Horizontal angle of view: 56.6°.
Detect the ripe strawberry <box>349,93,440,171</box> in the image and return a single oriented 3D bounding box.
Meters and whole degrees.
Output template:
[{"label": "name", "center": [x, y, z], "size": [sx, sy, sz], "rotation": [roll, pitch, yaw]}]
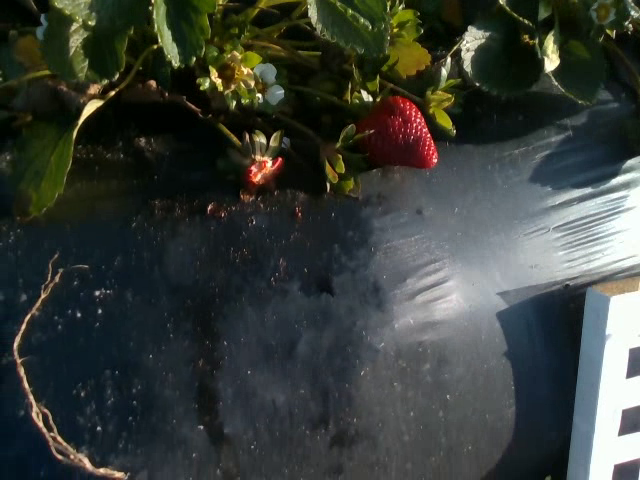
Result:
[{"label": "ripe strawberry", "center": [0.051, -0.059, 0.353], "size": [0.052, 0.052, 0.041], "rotation": [-38, -35, -6]}]
